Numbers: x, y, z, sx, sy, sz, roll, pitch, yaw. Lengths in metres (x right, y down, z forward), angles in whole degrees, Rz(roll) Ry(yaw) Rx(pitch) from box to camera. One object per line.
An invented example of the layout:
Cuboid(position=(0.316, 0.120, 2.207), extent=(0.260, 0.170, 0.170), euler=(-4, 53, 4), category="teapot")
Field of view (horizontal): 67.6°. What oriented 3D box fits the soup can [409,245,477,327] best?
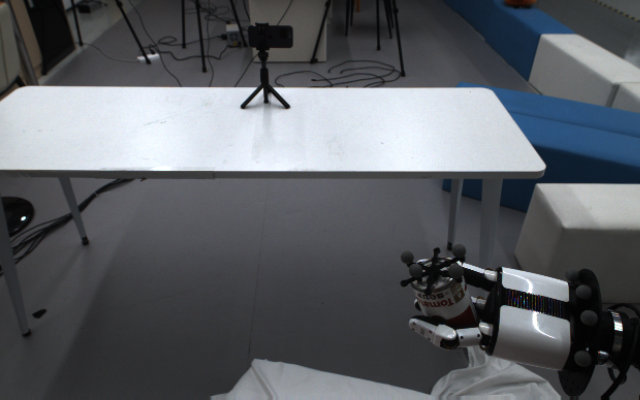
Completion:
Cuboid(position=(0.168, 0.133, 0.637), extent=(0.067, 0.101, 0.067), euler=(-21, 24, 10), category="soup can")
